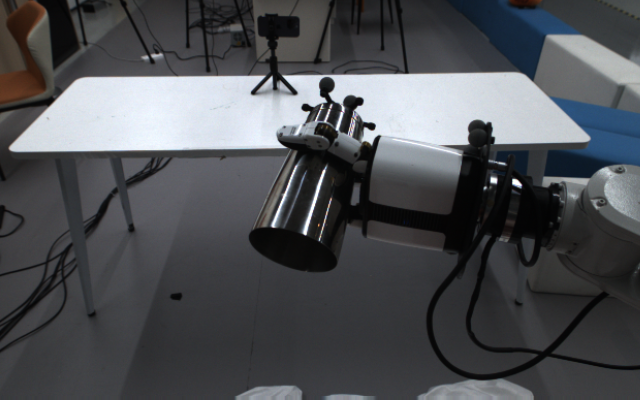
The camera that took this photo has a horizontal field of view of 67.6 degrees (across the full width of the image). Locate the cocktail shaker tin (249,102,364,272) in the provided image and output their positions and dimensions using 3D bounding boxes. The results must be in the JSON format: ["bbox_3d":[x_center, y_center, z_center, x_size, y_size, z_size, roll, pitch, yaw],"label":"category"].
[{"bbox_3d":[-0.002,-0.019,0.514,0.093,0.093,0.170,11,60,13],"label":"cocktail shaker tin"}]
